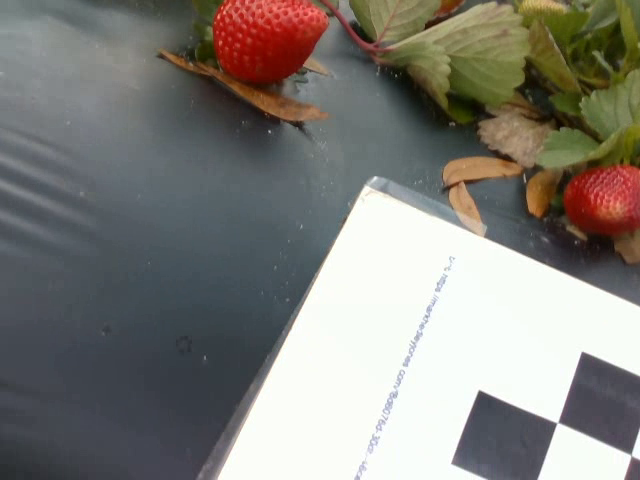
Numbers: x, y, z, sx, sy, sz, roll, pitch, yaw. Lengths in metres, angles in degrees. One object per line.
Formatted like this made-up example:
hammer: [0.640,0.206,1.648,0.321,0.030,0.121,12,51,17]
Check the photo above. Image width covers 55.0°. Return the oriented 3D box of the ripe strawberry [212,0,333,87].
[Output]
ripe strawberry: [-0.017,-0.087,0.254,0.042,0.047,0.065,43,-19,-33]

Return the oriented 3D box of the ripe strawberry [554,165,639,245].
ripe strawberry: [0.119,-0.014,0.246,0.040,0.037,0.042,36,23,5]
